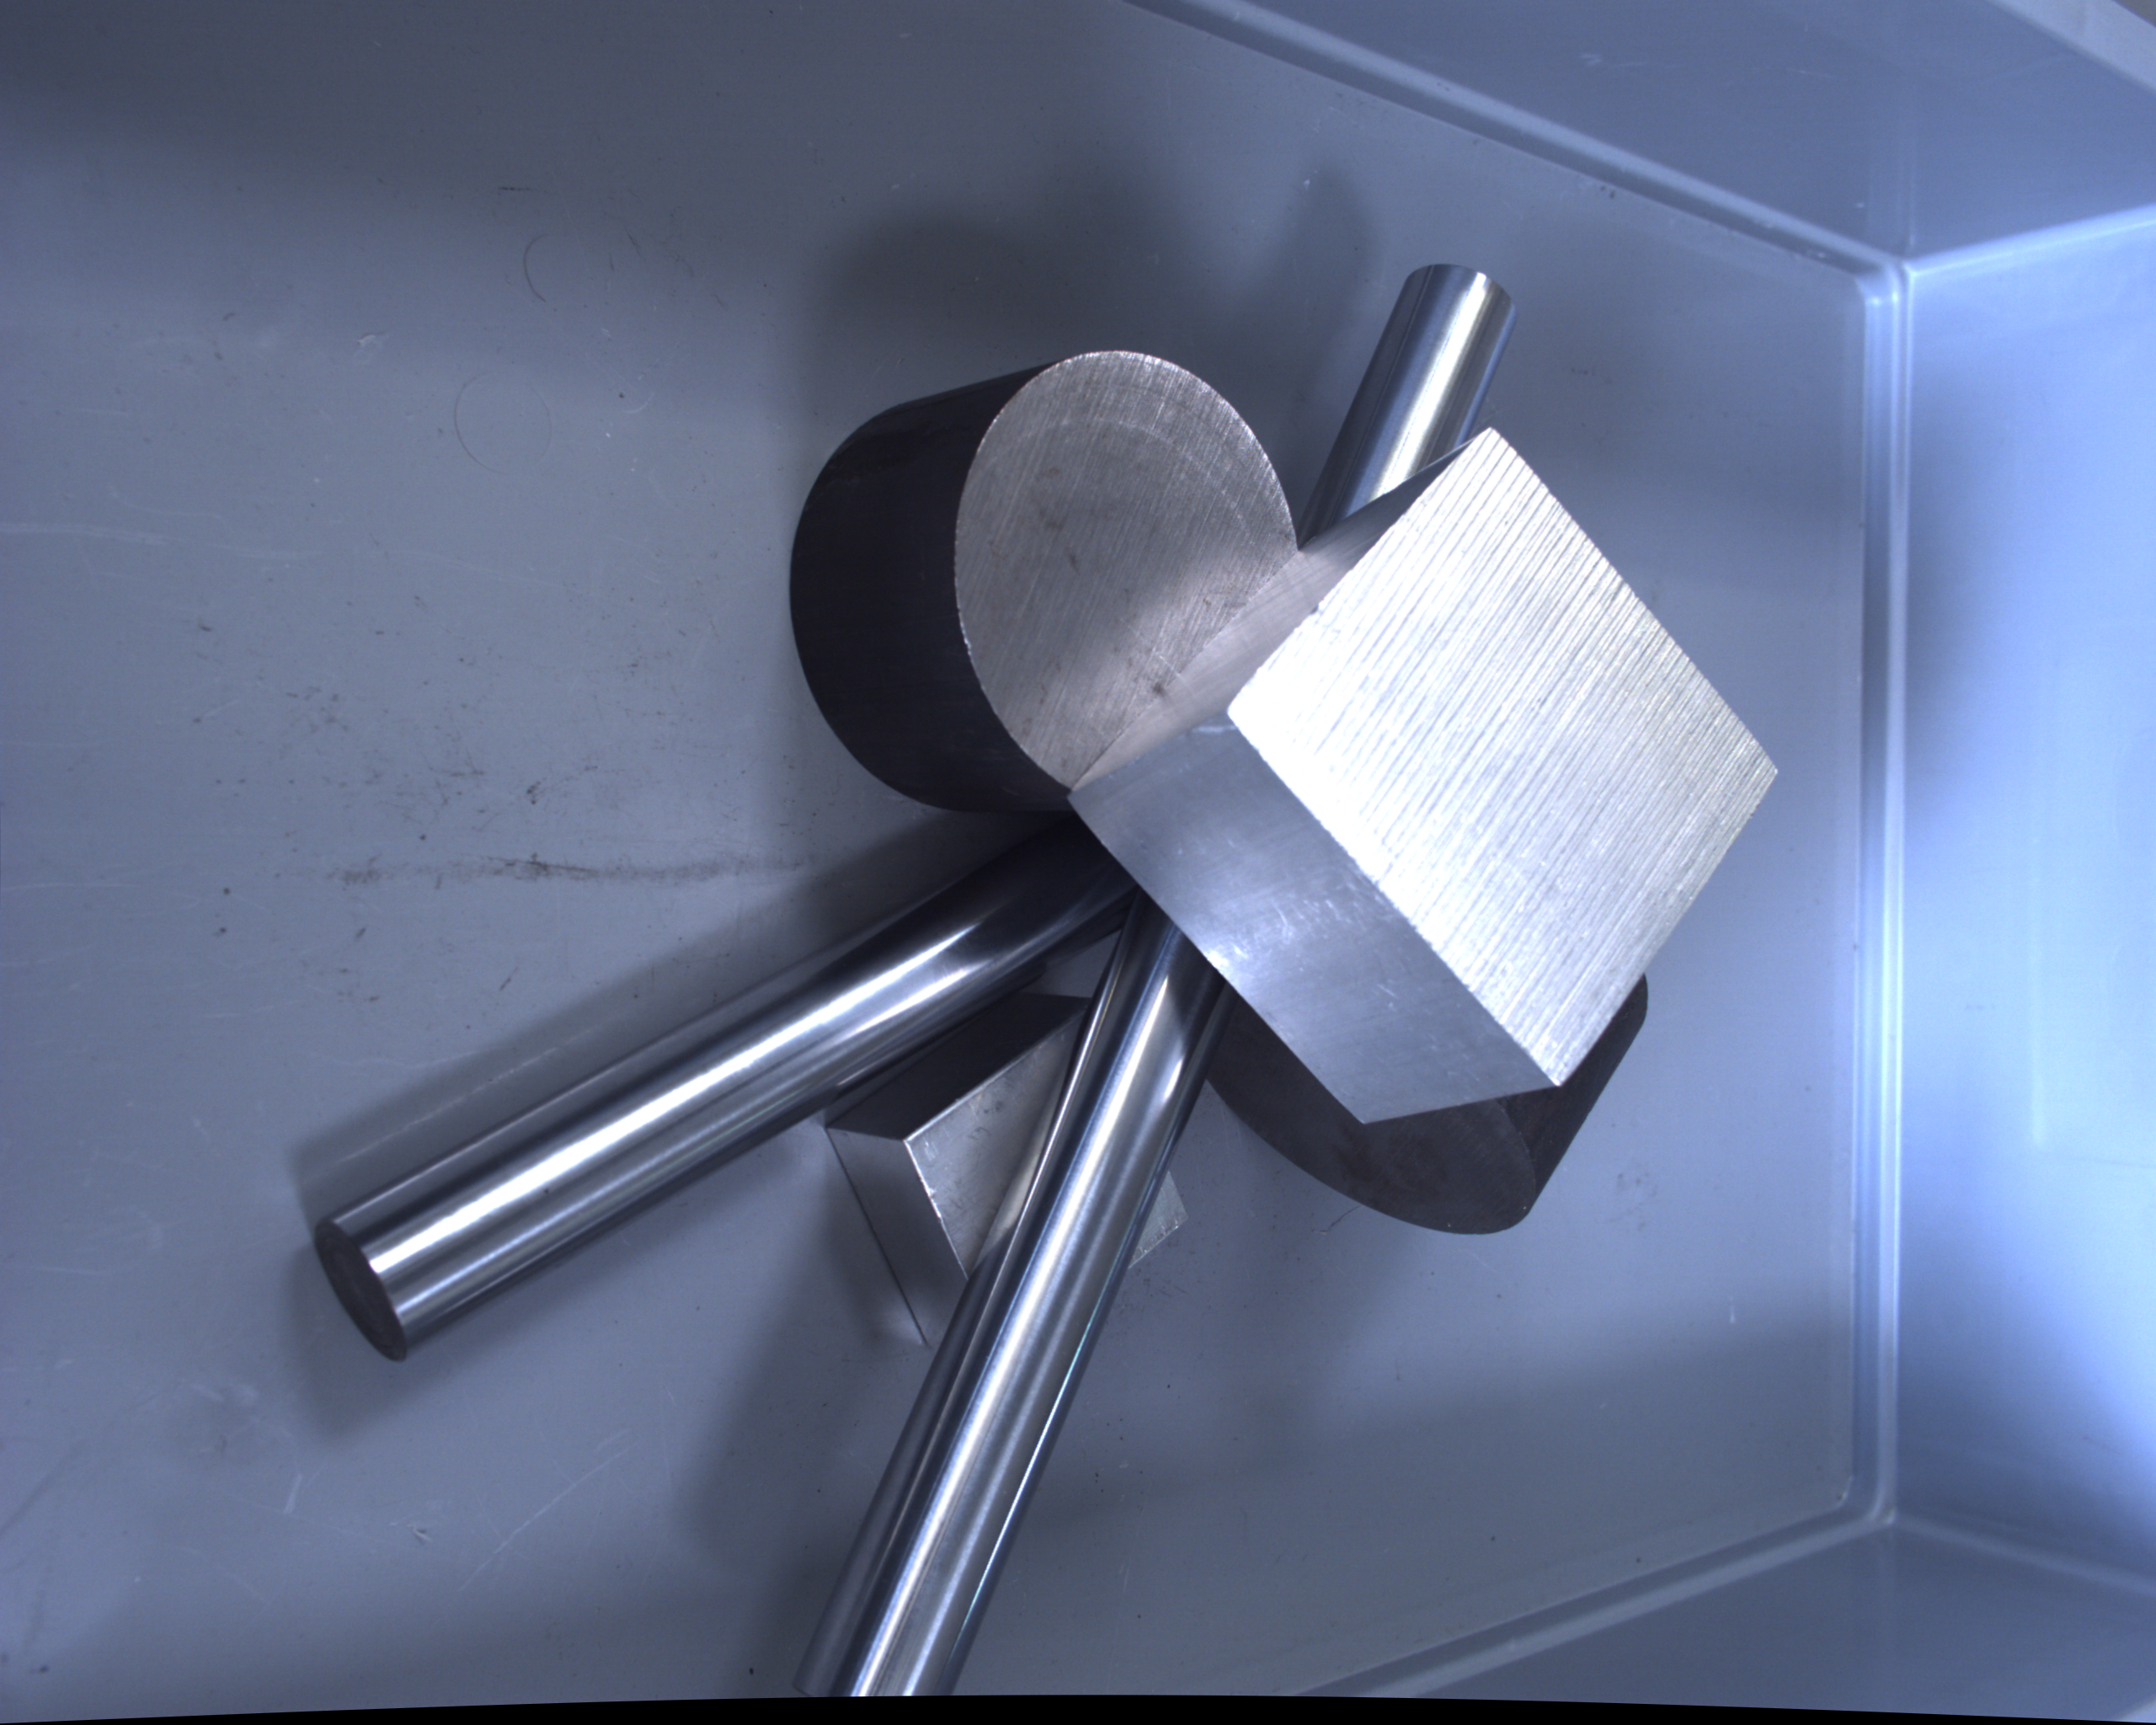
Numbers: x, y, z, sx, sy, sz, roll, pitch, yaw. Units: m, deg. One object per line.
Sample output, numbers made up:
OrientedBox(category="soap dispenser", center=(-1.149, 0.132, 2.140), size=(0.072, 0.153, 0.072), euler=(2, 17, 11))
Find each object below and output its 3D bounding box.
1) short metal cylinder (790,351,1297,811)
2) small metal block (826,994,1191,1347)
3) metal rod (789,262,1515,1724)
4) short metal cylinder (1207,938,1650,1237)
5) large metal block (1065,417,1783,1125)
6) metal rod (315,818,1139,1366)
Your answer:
OrientedBox(category="short metal cylinder", center=(-0.005, -0.050, 0.384), size=(0.081, 0.050, 0.079), euler=(0, 90, -40))
OrientedBox(category="small metal block", center=(-0.012, 0.059, 0.395), size=(0.050, 0.025, 0.050), euler=(-35, 112, -35))
OrientedBox(category="metal rod", center=(0.022, 0.011, 0.391), size=(0.025, 0.025, 0.300), euler=(38, 67, -34))
OrientedBox(category="short metal cylinder", center=(0.068, 0.031, 0.427), size=(0.050, 0.080, 0.080), euler=(-50, 120, -27))
OrientedBox(category="large metal block", center=(0.060, -0.014, 0.356), size=(0.080, 0.050, 0.080), euler=(48, 61, -10))
OrientedBox(category="metal rod", center=(-0.002, 0.005, 0.403), size=(0.302, 0.025, 0.025), euler=(-29, 109, -36))
